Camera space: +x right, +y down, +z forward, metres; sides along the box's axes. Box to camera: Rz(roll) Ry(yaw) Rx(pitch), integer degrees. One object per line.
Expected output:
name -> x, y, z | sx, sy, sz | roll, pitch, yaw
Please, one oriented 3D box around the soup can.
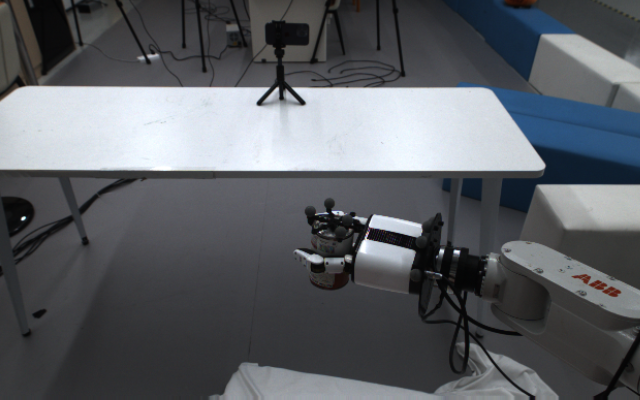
soup can -> 0.019, 0.084, 0.767 | 0.067, 0.101, 0.067 | 3, 30, -2
